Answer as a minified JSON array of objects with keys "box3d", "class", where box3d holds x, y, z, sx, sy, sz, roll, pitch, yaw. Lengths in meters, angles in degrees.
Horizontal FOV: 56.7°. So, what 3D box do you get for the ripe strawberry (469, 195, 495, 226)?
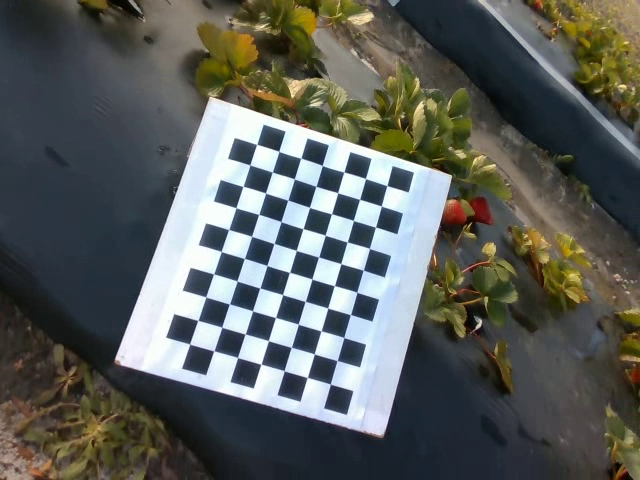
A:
[{"box3d":[0.280,-0.048,1.004,0.048,0.065,0.050,-31,-8,-12],"class":"ripe strawberry"}]
